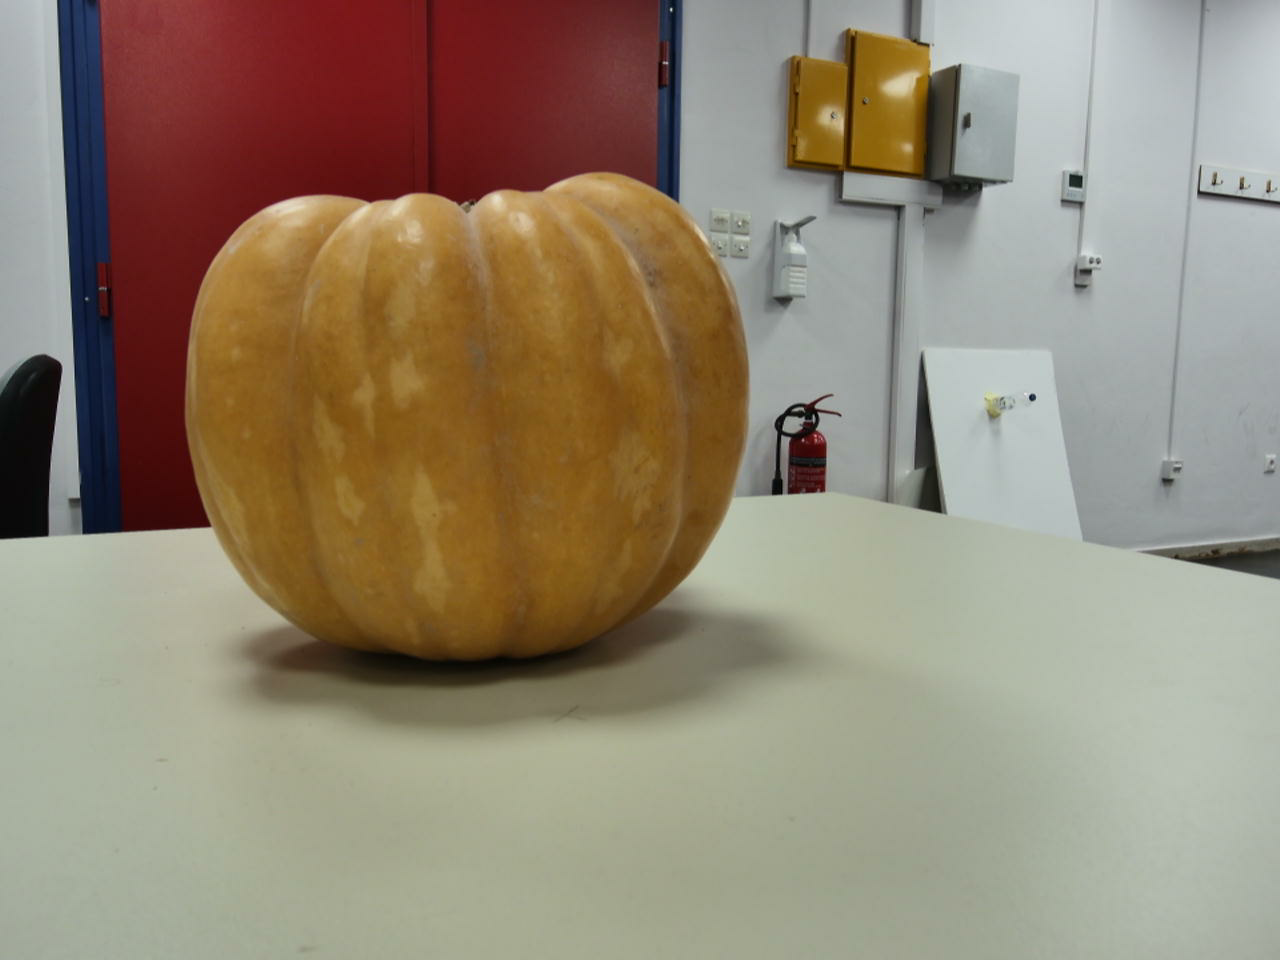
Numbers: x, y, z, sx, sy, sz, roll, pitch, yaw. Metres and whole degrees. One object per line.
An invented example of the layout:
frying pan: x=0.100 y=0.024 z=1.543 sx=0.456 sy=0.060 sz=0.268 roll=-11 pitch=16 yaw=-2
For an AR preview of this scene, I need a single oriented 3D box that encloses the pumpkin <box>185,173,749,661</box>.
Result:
pumpkin: x=-0.065 y=-0.026 z=0.417 sx=0.230 sy=0.194 sz=0.230 roll=0 pitch=4 yaw=0
